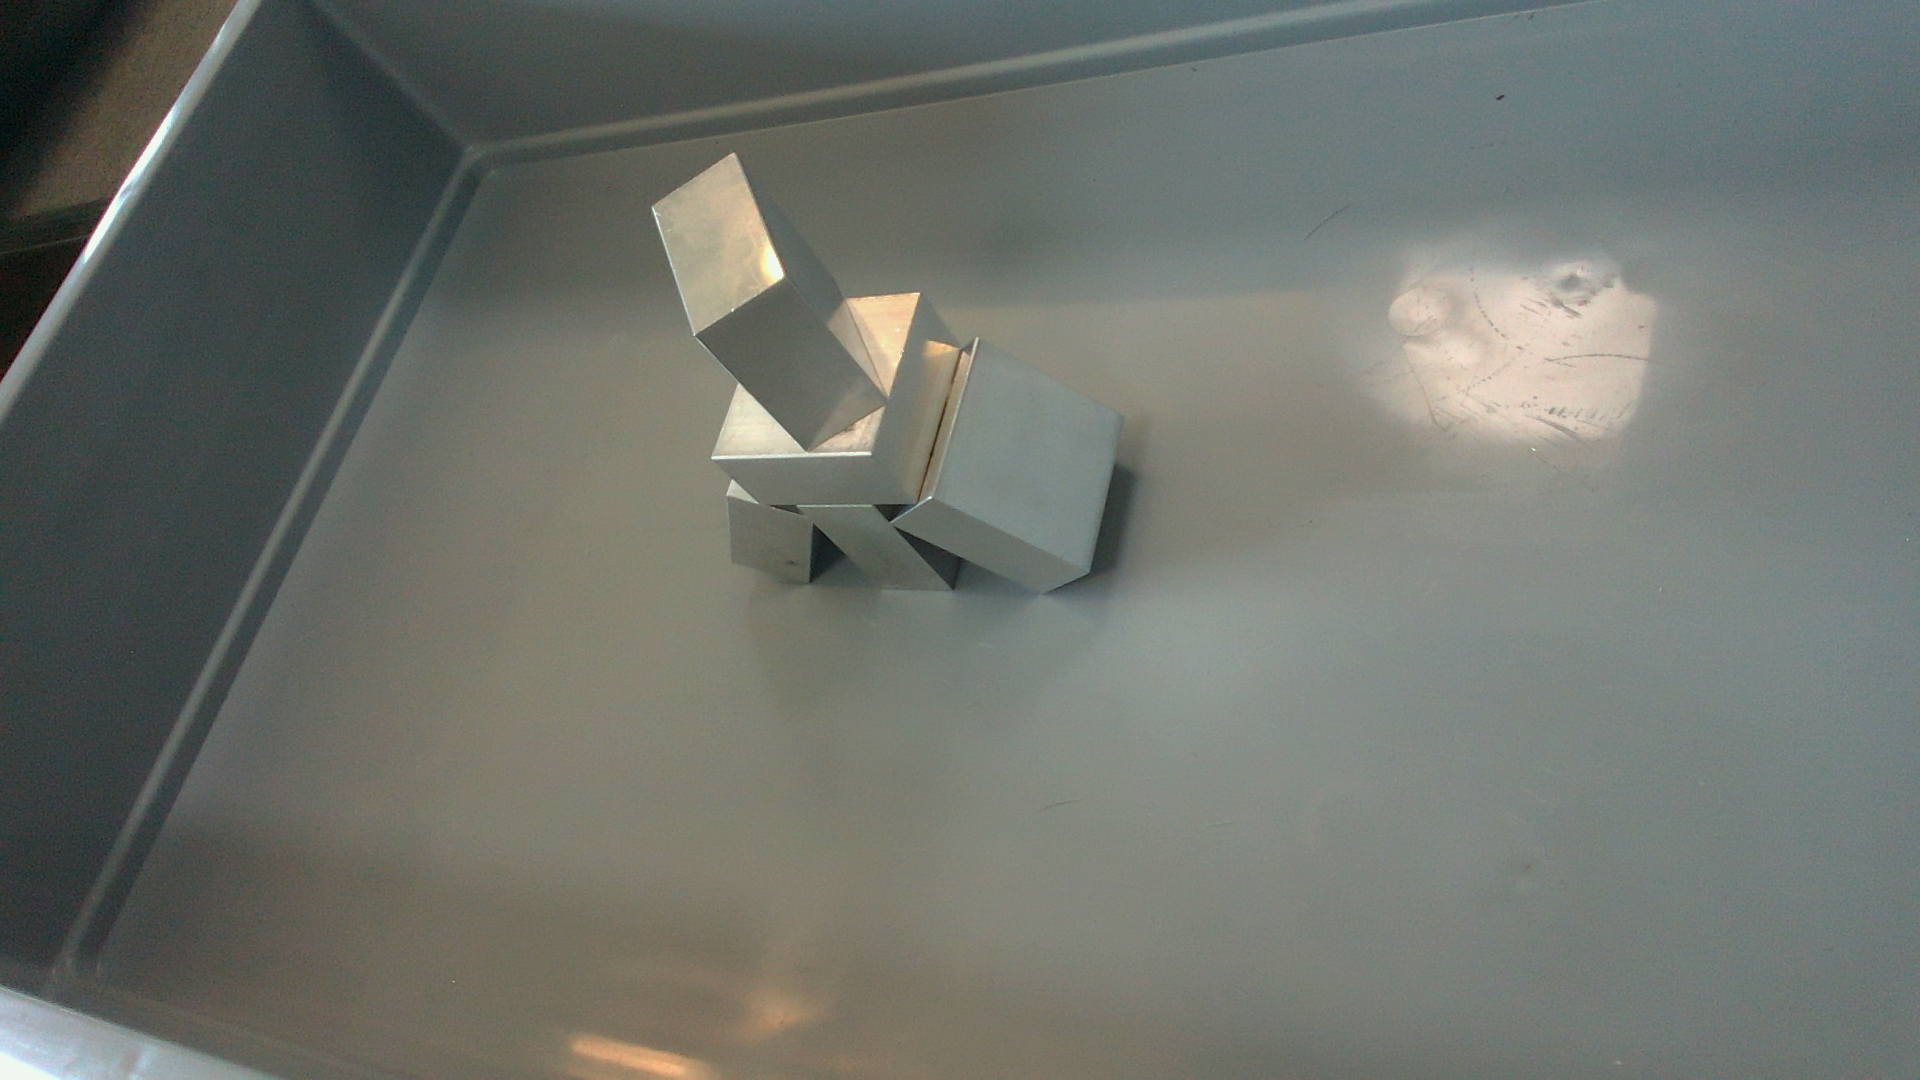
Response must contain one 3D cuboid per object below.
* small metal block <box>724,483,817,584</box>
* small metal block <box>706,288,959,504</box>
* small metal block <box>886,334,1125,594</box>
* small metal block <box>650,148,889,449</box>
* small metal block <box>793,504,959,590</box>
[{"bbox_3d":[-0.050,-0.022,0.413,0.025,0.050,0.050,16,65,-1],"label":"small metal block"},{"bbox_3d":[-0.033,-0.038,0.367,0.050,0.025,0.050,1,61,29],"label":"small metal block"},{"bbox_3d":[0.013,-0.020,0.378,0.025,0.050,0.050,-28,42,56],"label":"small metal block"},{"bbox_3d":[-0.047,-0.059,0.339,0.025,0.050,0.050,-31,51,9],"label":"small metal block"},{"bbox_3d":[-0.018,-0.019,0.397,0.025,0.050,0.050,1,62,29],"label":"small metal block"}]
